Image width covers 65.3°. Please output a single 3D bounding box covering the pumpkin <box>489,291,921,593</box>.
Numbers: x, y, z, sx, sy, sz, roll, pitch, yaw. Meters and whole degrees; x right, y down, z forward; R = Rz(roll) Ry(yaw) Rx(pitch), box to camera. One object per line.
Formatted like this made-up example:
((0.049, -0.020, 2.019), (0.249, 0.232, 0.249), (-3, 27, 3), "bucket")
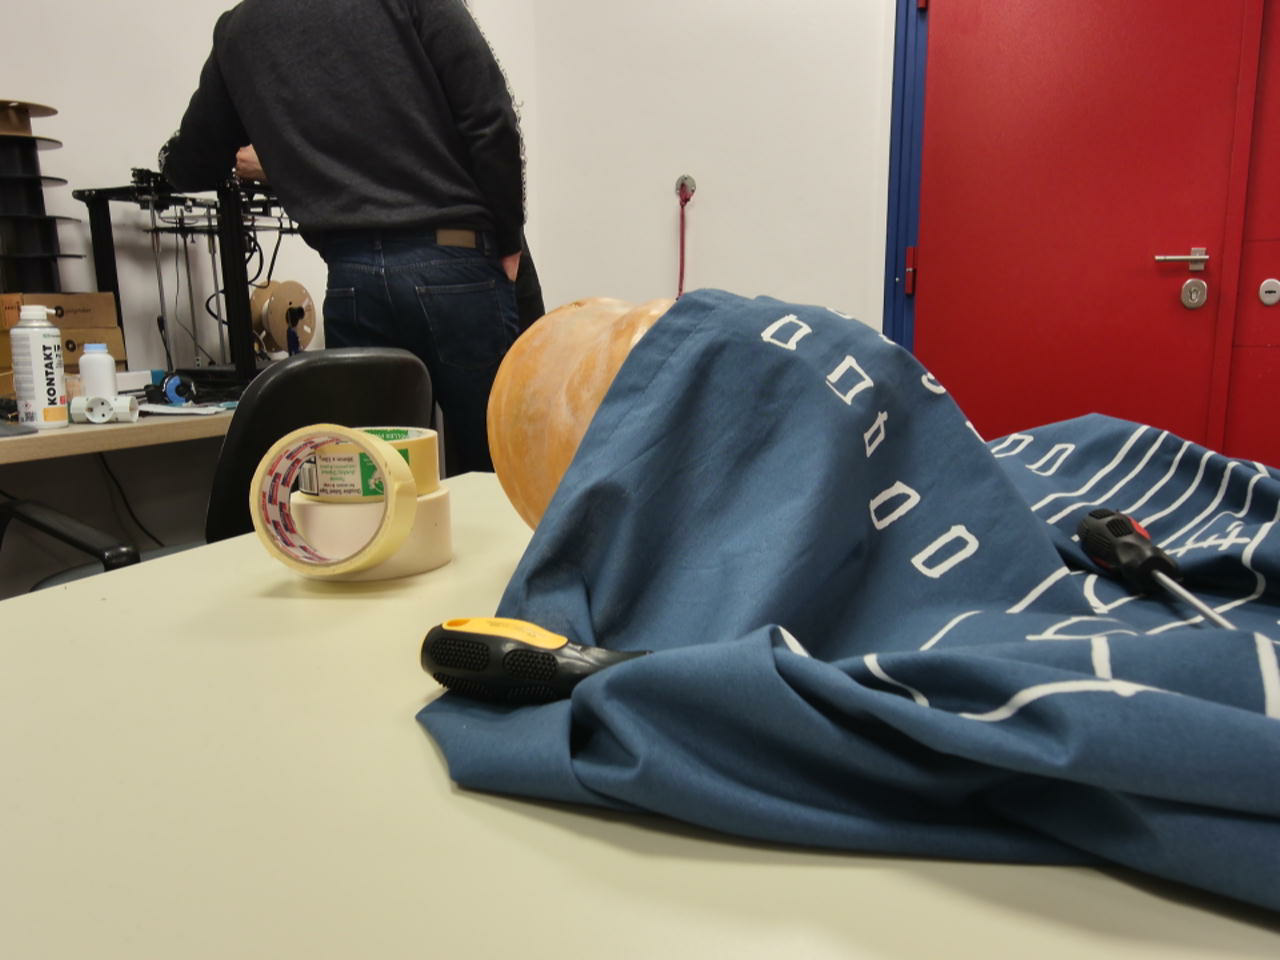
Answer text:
((0.035, -0.029, 0.635), (0.277, 0.181, 0.277), (0, 7, 0), "pumpkin")
